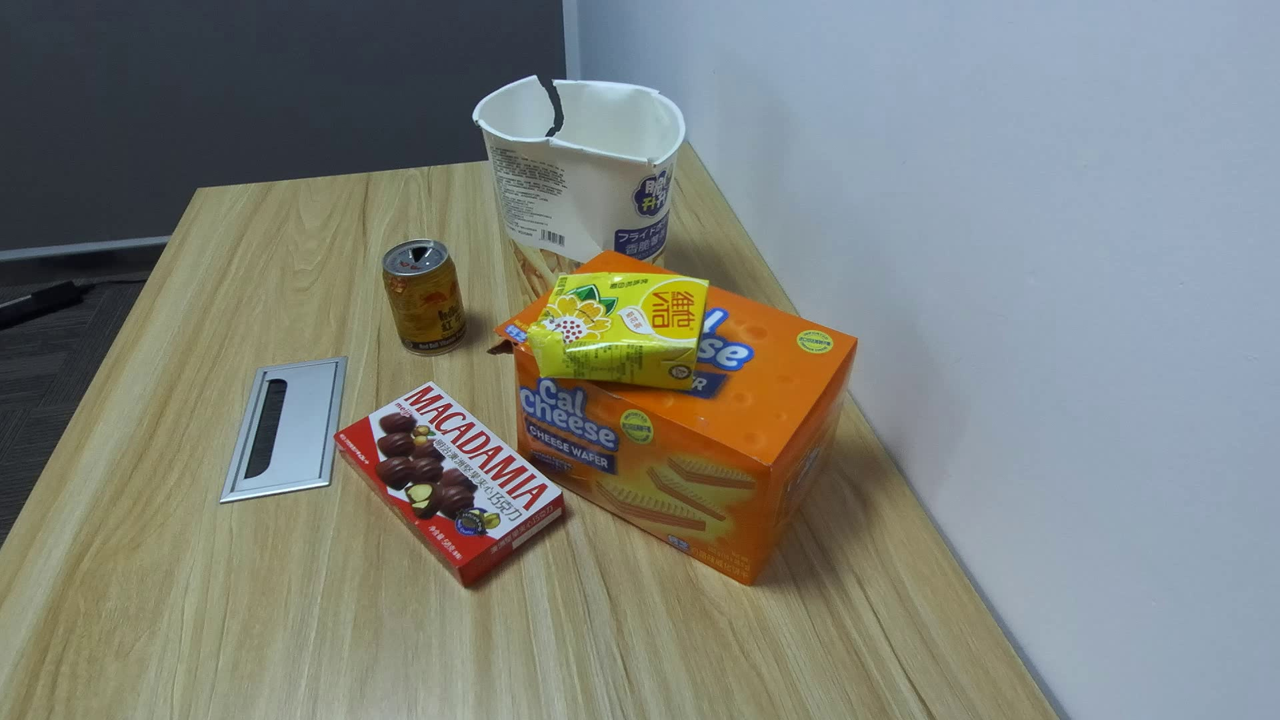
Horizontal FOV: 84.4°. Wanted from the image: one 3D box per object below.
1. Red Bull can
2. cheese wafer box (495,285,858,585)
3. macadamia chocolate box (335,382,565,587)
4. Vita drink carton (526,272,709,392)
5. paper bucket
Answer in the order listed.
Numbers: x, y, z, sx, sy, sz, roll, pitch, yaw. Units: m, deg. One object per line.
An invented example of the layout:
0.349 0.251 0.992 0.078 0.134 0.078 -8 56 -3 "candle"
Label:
-0.204 -0.059 0.673 0.068 0.093 0.068 0 37 1 "Red Bull can"
0.025 0.030 0.532 0.226 0.137 0.150 24 47 24 "cheese wafer box"
-0.152 0.089 0.555 0.177 0.027 0.096 33 50 32 "macadamia chocolate box"
-0.012 -0.020 0.468 0.108 0.042 0.087 5 49 12 "Vita drink carton"
-0.053 -0.148 0.686 0.202 0.197 0.146 14 42 14 "paper bucket"
